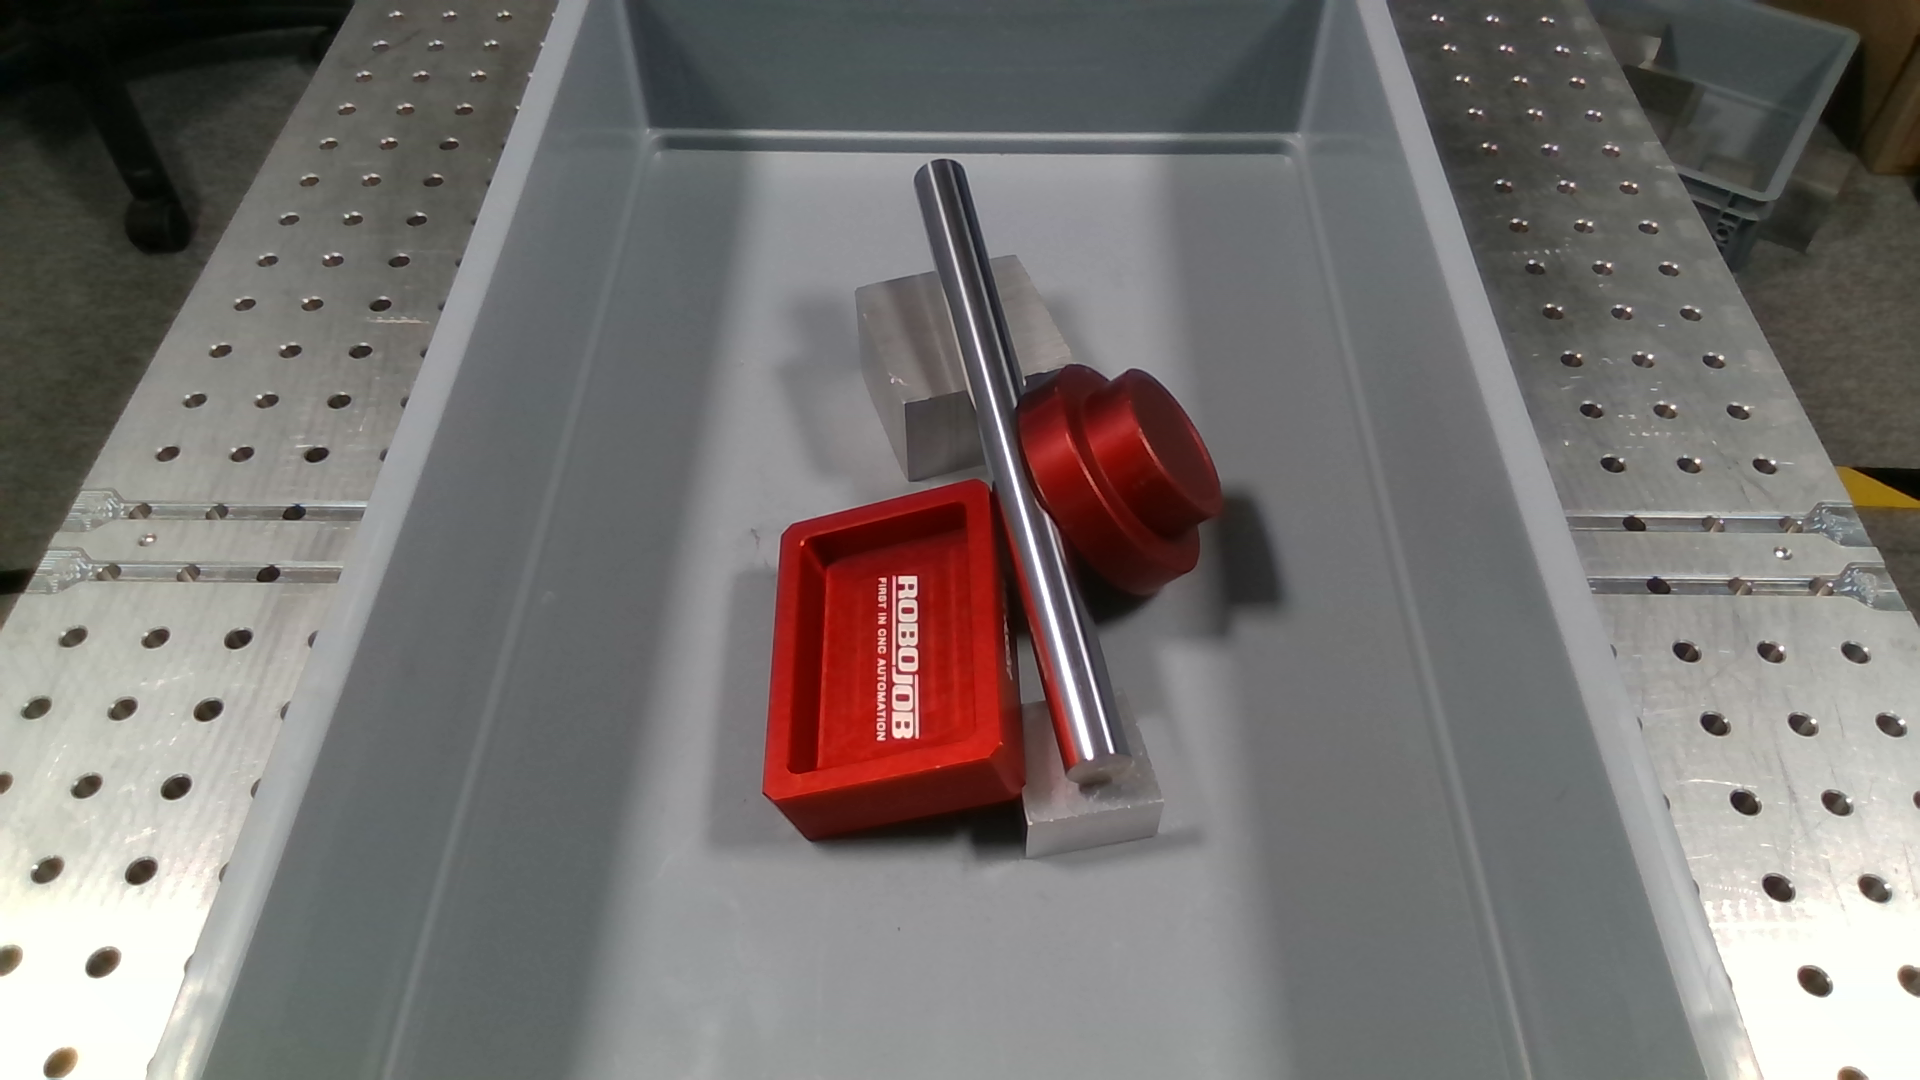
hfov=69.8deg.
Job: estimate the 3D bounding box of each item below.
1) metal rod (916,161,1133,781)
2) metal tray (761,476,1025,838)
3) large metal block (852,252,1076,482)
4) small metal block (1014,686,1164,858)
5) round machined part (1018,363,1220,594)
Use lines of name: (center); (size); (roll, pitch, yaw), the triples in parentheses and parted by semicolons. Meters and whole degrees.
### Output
metal rod: (0.020, -0.044, 0.564); (0.025, 0.025, 0.299); (-9, 58, -7)
metal tray: (-0.026, 0.042, 0.529); (0.090, 0.030, 0.130); (-14, 49, 14)
large metal block: (0.001, -0.081, 0.636); (0.080, 0.050, 0.080); (-14, 52, -11)
small metal block: (0.043, 0.086, 0.513); (0.050, 0.025, 0.050); (-9, 51, -7)
round machined part: (0.070, -0.031, 0.561); (0.042, 0.098, 0.098); (-31, 44, 27)
